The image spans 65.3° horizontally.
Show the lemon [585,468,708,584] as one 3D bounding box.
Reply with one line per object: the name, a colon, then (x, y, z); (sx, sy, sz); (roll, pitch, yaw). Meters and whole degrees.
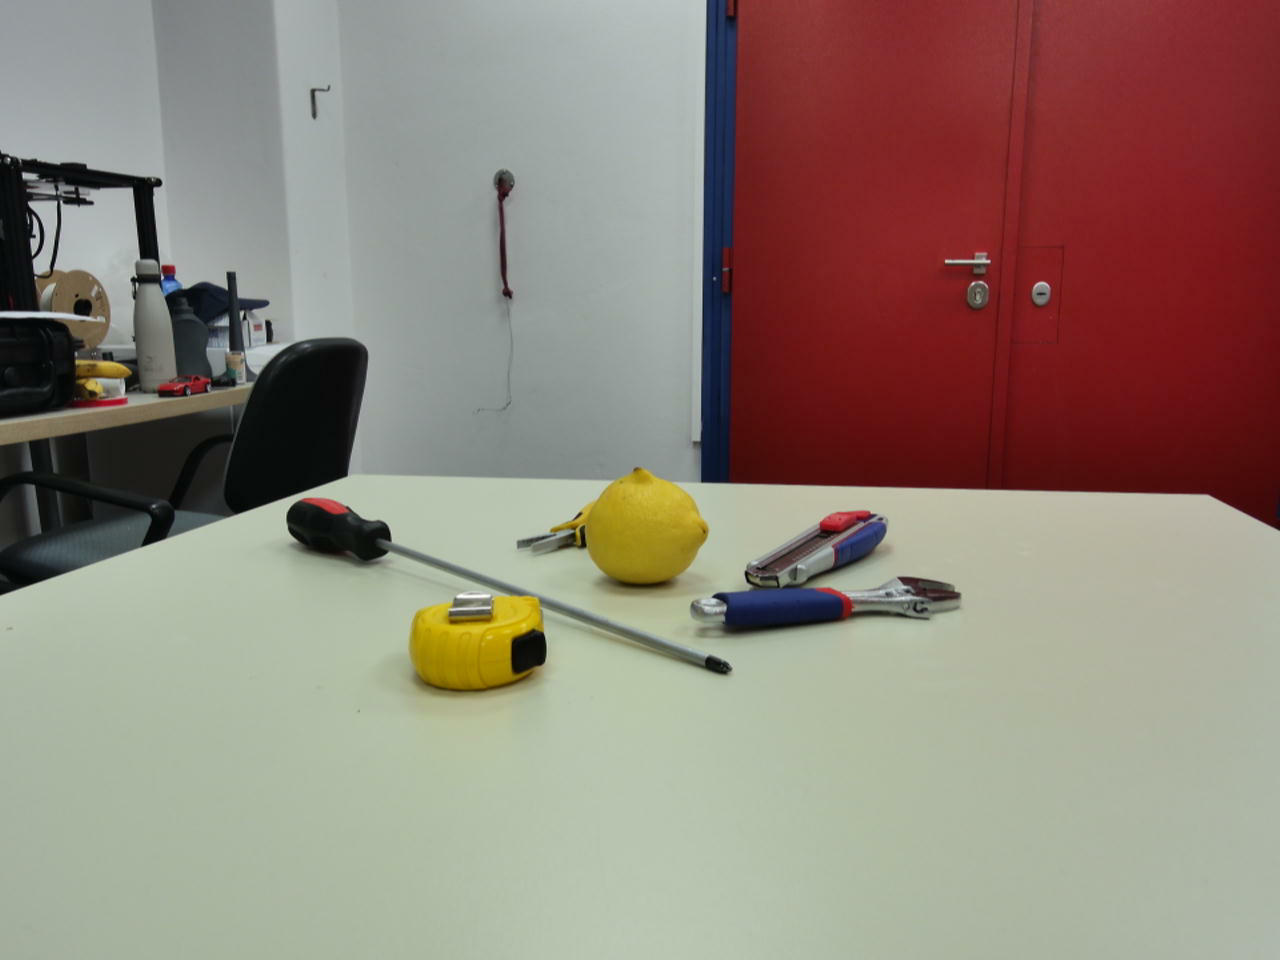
lemon: (0.002, 0.028, 0.613); (0.070, 0.071, 0.071); (-4, 8, -22)
